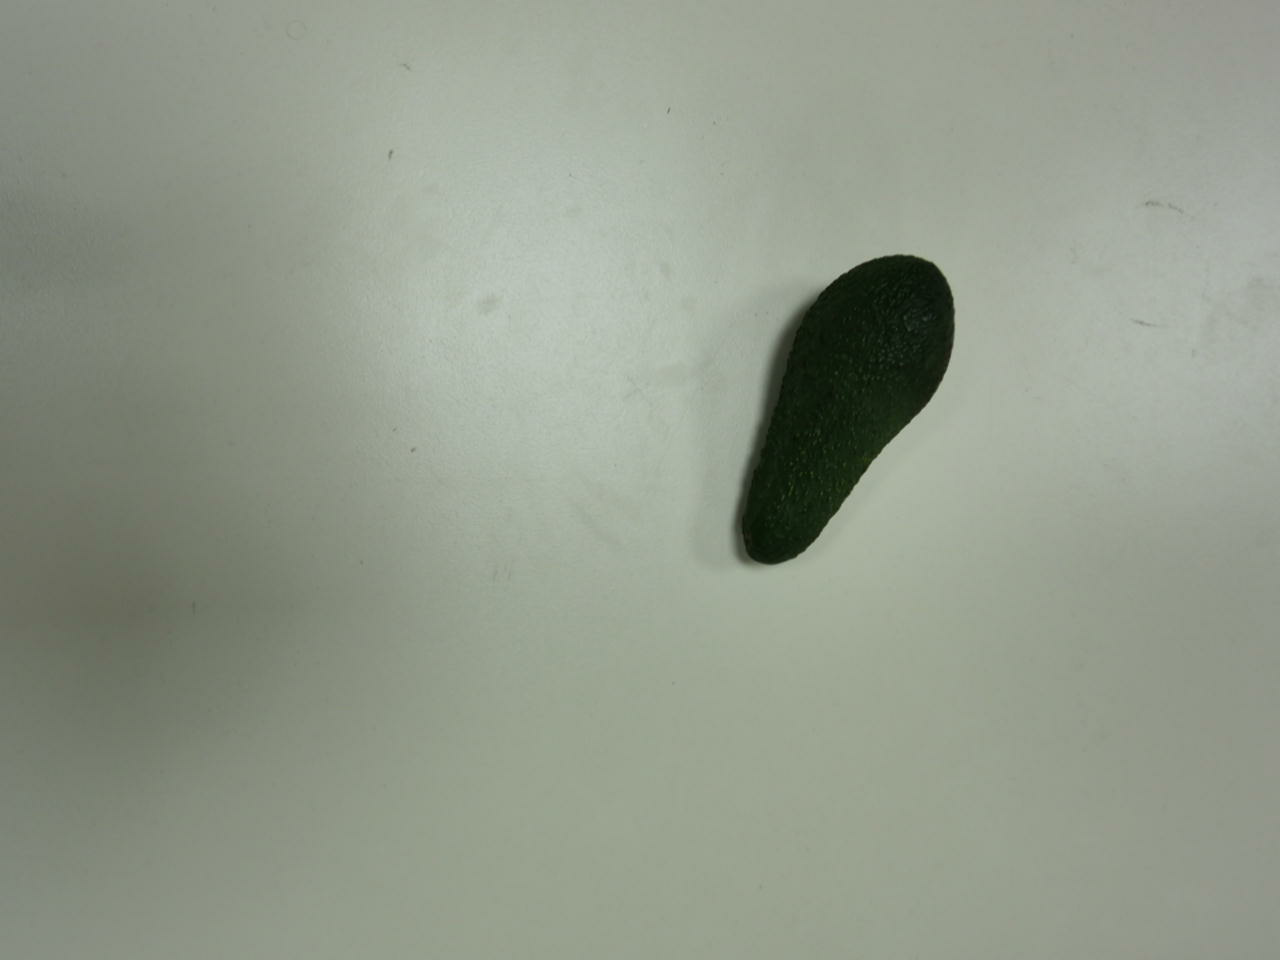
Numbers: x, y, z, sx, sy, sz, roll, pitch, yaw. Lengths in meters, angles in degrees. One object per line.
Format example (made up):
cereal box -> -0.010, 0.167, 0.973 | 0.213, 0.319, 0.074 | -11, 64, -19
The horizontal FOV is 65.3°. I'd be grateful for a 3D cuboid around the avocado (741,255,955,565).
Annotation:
avocado -> 0.089, -0.026, 0.415 | 0.063, 0.067, 0.141 | 16, 87, -11
